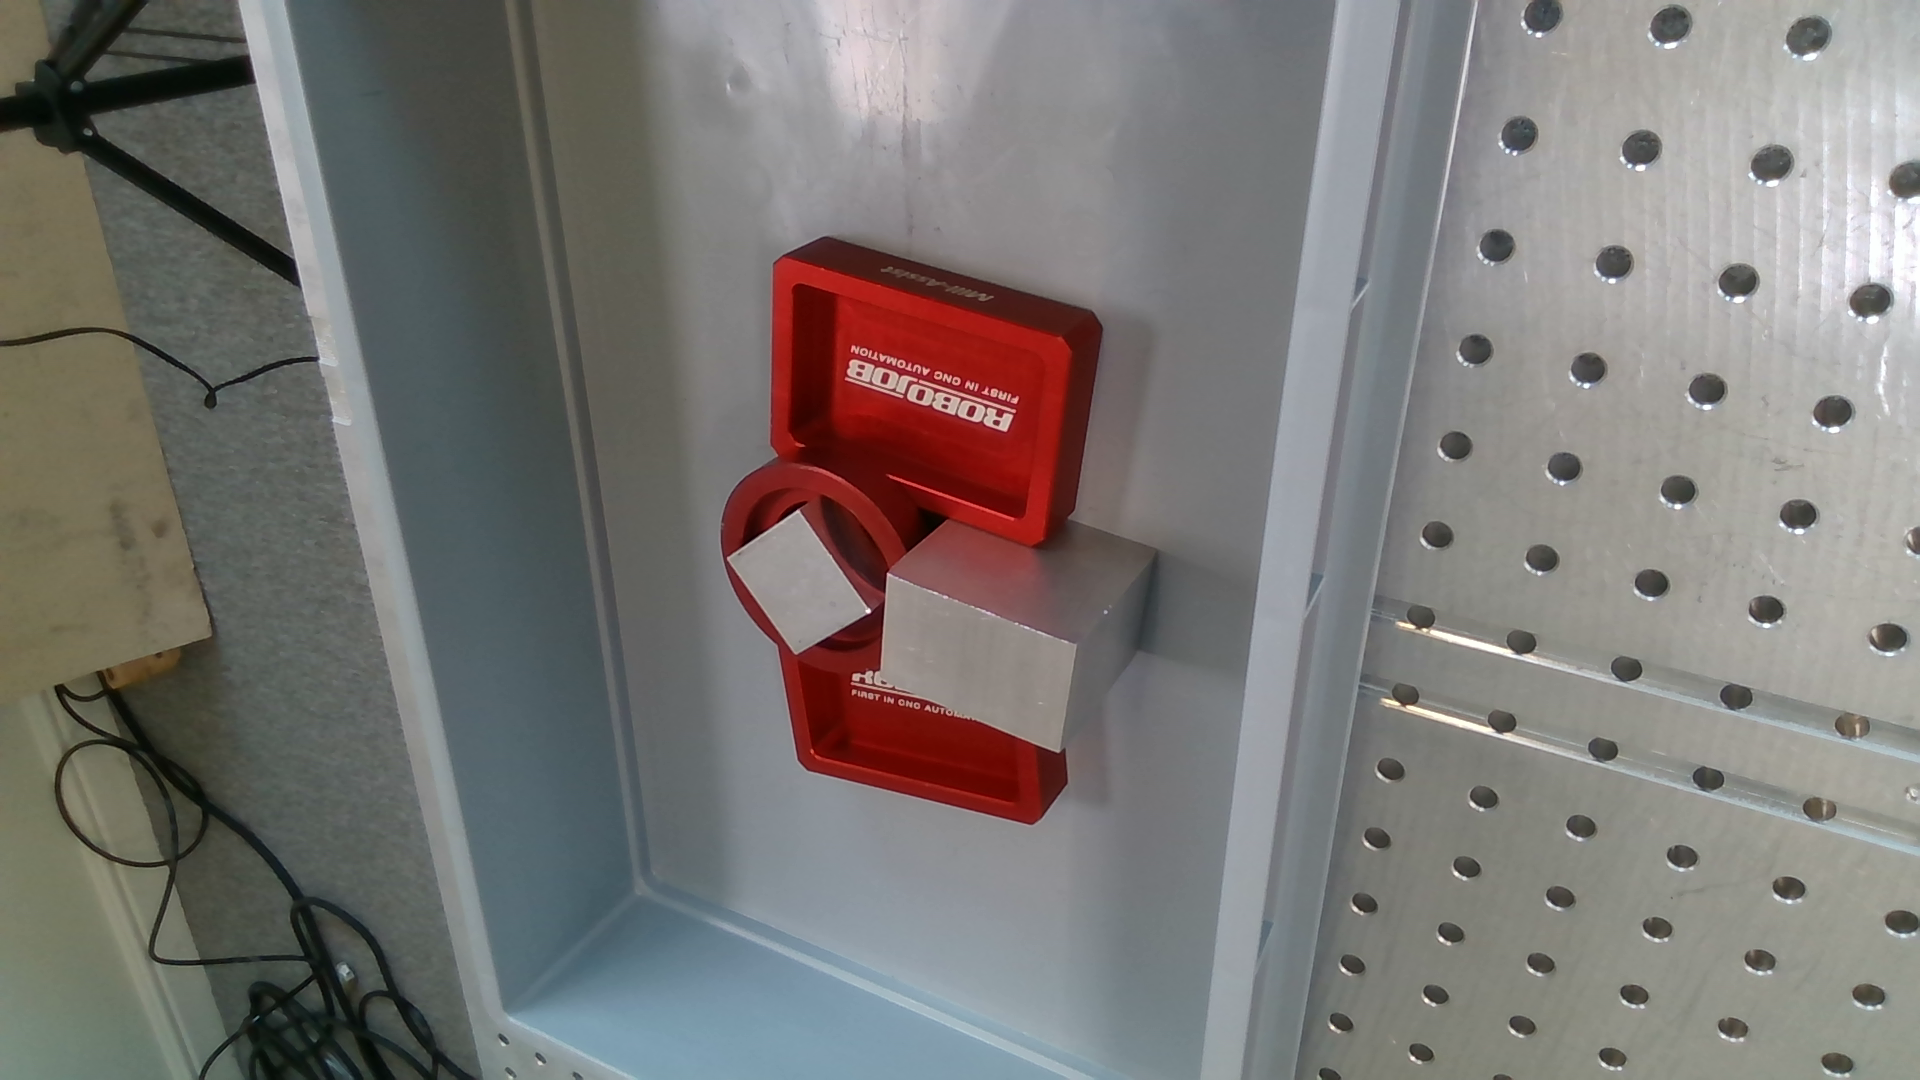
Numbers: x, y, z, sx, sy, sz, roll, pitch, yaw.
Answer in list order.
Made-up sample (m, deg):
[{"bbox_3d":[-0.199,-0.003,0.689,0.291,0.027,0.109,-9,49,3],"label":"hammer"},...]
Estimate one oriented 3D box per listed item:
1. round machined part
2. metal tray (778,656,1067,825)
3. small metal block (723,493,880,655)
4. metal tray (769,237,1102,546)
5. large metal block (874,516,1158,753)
[{"bbox_3d":[-0.051,0.005,0.590,0.098,0.042,0.098,14,122,25],"label":"round machined part"},{"bbox_3d":[-0.019,0.072,0.626,0.130,0.030,0.090,8,119,28],"label":"metal tray"},{"bbox_3d":[-0.062,0.013,0.569,0.050,0.025,0.050,-29,98,39],"label":"small metal block"},{"bbox_3d":[-0.014,-0.061,0.550,0.130,0.030,0.090,20,124,21],"label":"metal tray"},{"bbox_3d":[0.023,0.029,0.545,0.080,0.080,0.050,20,124,21],"label":"large metal block"}]
